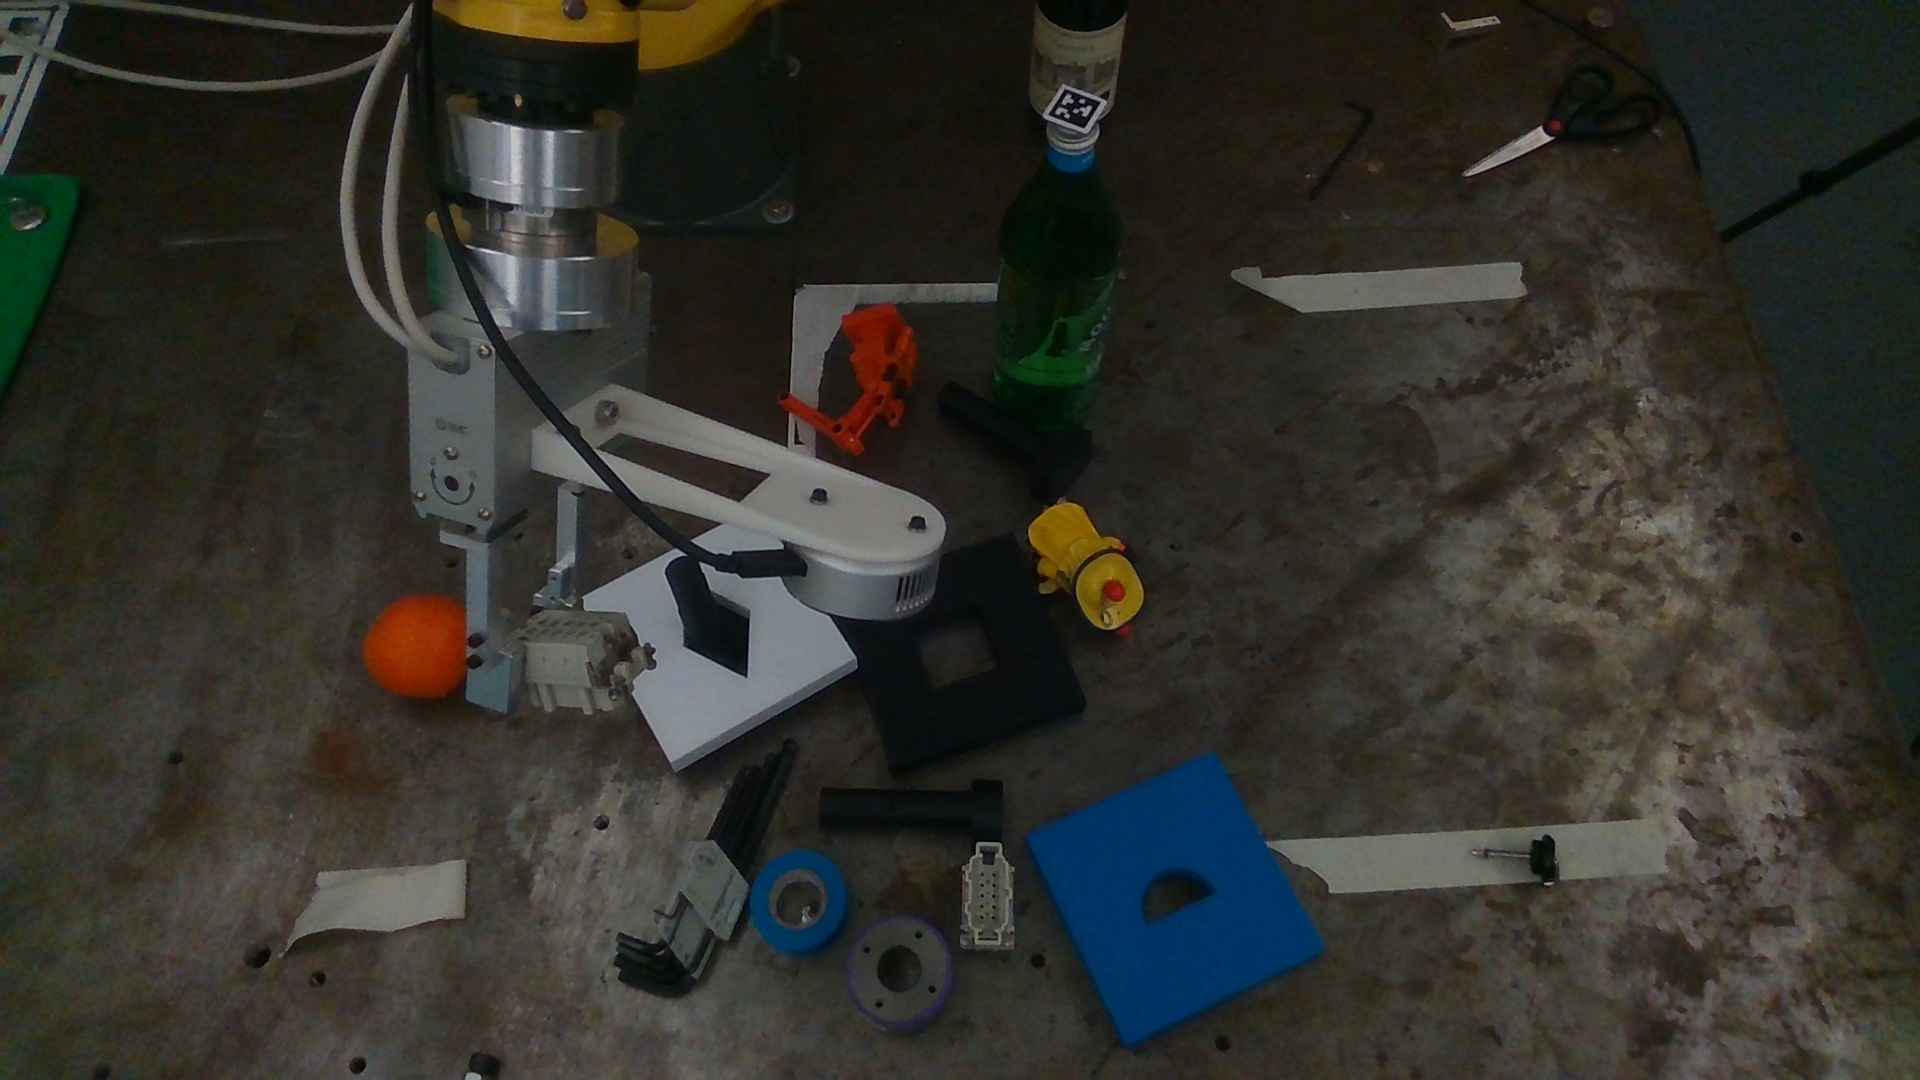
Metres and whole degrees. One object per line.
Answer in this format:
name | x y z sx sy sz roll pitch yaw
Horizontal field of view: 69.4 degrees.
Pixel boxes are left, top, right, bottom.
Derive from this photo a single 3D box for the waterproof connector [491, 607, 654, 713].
waterproof connector | -0.173 0.054 0.621 0.069 0.038 0.036 0 24 20
